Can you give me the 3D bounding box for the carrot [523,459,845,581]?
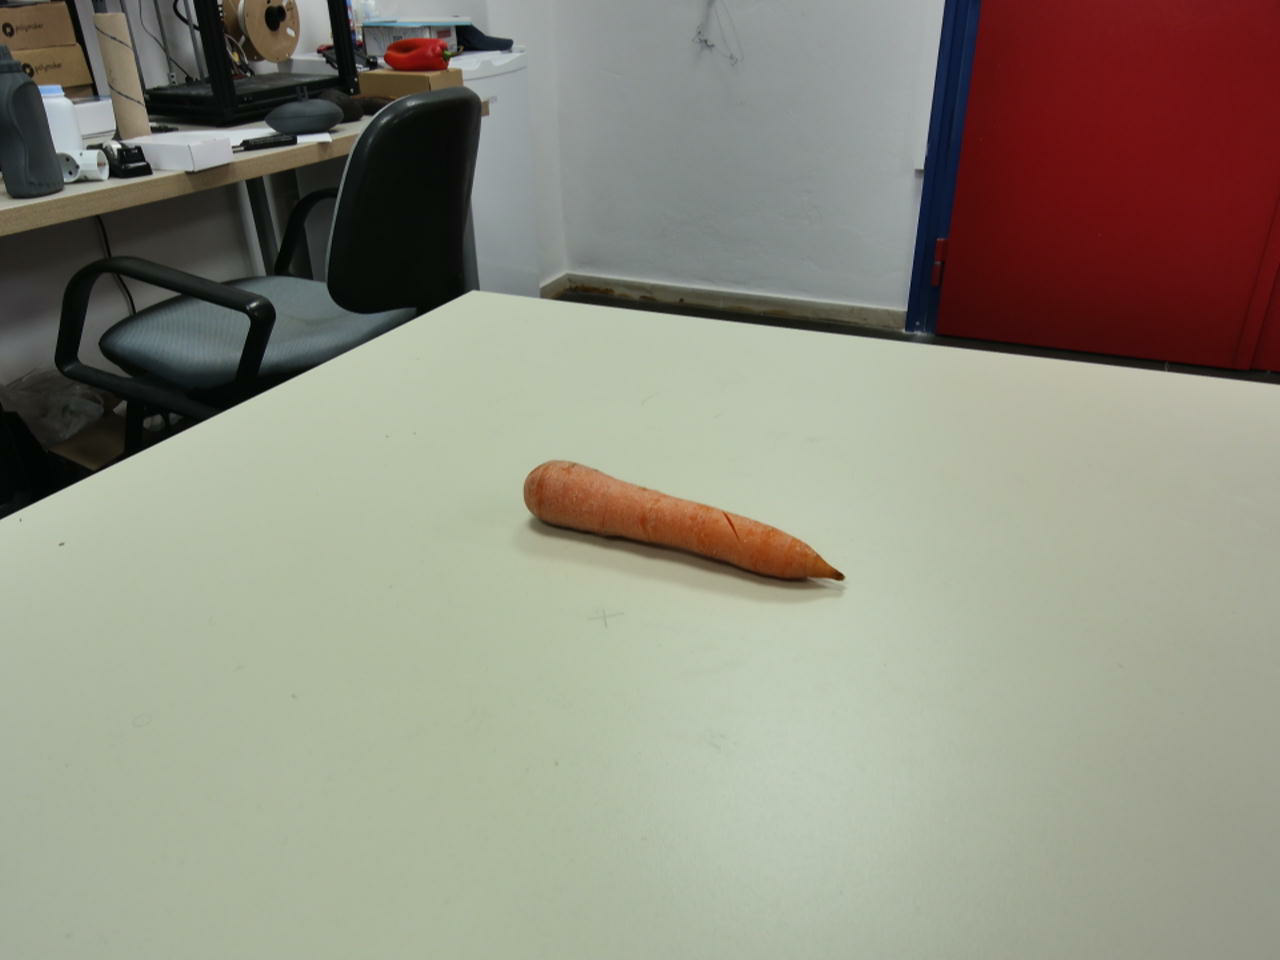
[{"bbox_3d":[0.022,0.022,0.569,0.196,0.041,0.039,11,27,22],"label":"carrot"}]
